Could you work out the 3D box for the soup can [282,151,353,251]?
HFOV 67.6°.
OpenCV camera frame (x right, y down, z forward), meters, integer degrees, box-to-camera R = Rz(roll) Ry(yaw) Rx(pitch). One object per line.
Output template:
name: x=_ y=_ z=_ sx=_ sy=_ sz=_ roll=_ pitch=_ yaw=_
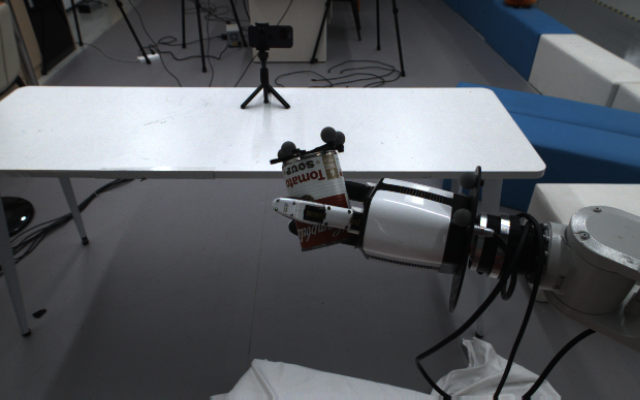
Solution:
soup can: x=0.001 y=0.001 z=0.554 sx=0.067 sy=0.101 sz=0.067 roll=-14 pitch=-2 yaw=-1
